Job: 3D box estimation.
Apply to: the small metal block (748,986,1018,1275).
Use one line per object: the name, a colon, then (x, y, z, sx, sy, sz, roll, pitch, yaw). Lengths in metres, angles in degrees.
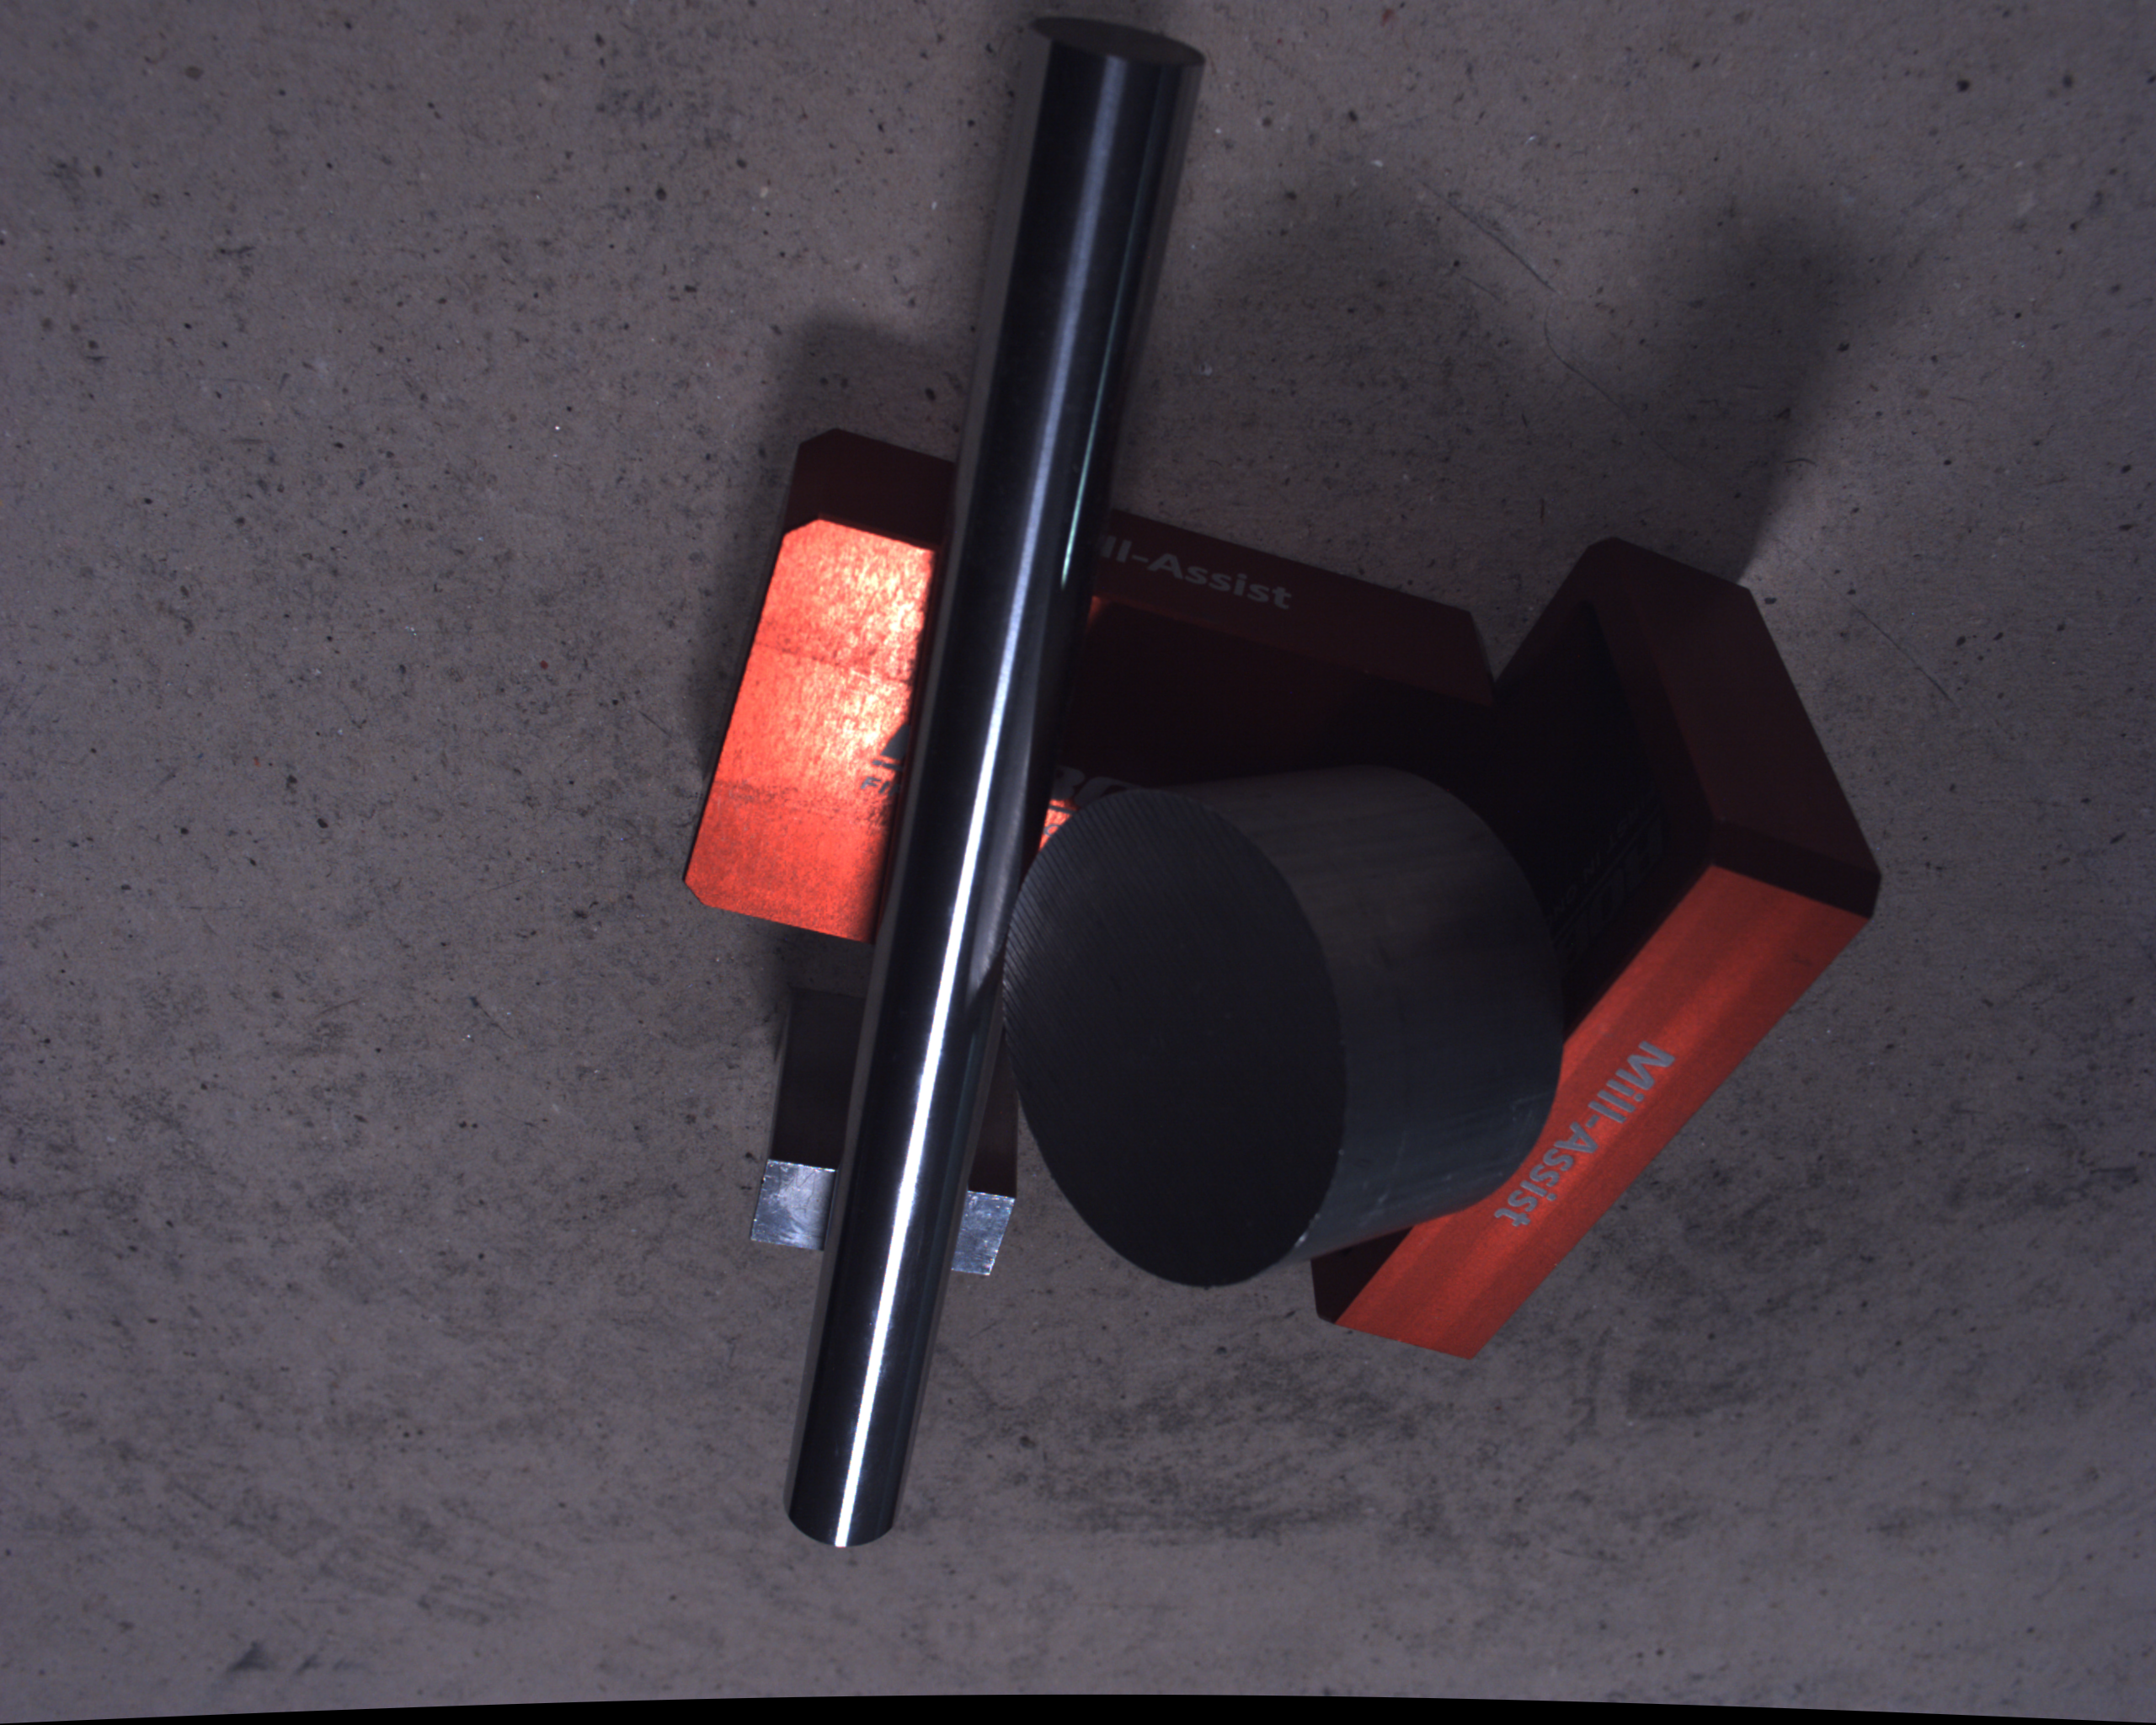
small metal block: (-0.040, 0.056, 0.439, 0.050, 0.050, 0.025, 10, 129, -9)

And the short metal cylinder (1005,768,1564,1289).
short metal cylinder: (0.032, 0.025, 0.347, 0.050, 0.080, 0.079, -7, 140, -39)

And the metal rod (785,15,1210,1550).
metal rod: (-0.022, 0.010, 0.366, 0.025, 0.025, 0.298, 8, 121, -7)

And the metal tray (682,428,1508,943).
metal tray: (0.001, -0.019, 0.388, 0.131, 0.030, 0.089, 14, 129, -12)

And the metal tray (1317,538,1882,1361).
metal tray: (0.084, 0.018, 0.382, 0.030, 0.090, 0.129, 18, 128, -15)
